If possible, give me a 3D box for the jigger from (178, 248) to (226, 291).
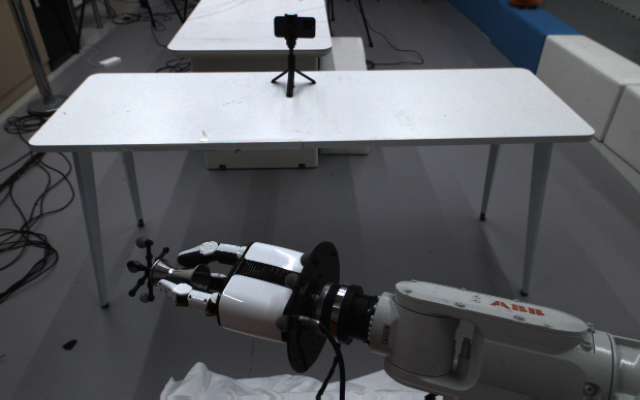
[{"bbox_3d":[-0.183,0.101,0.654,0.071,0.043,0.043,6,34,21],"label":"jigger"}]
